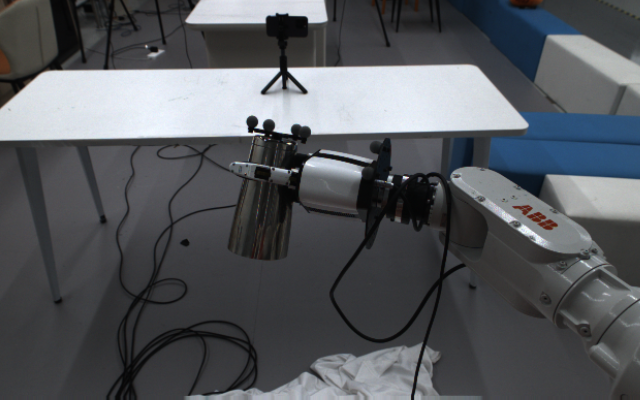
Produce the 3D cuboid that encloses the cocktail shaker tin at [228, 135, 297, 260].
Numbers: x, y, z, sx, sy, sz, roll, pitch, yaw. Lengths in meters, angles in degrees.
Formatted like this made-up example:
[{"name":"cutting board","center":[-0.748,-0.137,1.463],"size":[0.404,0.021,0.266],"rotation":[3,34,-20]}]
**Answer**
[{"name":"cocktail shaker tin","center":[-0.077,-0.009,0.721],"size":[0.093,0.170,0.093],"rotation":[10,9,-2]}]
